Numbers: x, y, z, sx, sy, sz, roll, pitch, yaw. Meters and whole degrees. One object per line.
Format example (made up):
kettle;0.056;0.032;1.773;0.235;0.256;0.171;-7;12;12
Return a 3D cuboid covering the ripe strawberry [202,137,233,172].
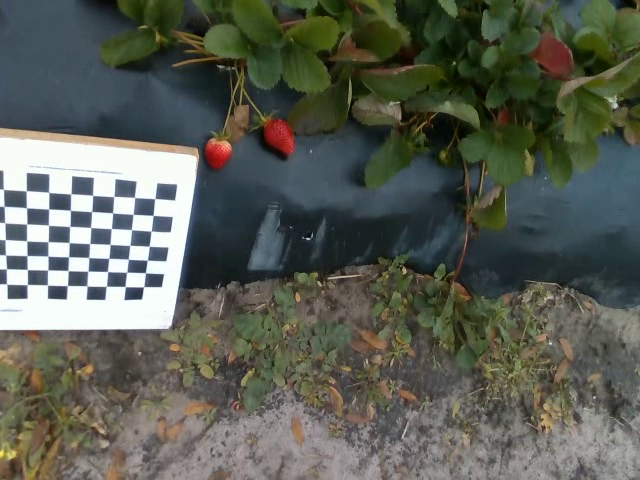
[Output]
ripe strawberry;-0.125;-0.106;0.731;0.036;0.041;0.028;8;15;-12

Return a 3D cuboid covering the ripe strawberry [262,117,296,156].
ripe strawberry;-0.052;-0.130;0.752;0.044;0.059;0.042;-29;17;18
